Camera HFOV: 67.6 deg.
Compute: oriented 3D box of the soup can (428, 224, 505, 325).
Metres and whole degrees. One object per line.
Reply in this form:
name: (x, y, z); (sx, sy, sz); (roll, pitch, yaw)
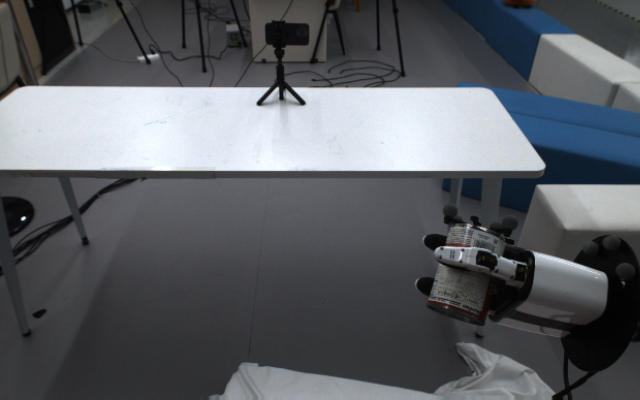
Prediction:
soup can: (0.172, 0.084, 0.566); (0.067, 0.067, 0.101); (16, 76, 19)
